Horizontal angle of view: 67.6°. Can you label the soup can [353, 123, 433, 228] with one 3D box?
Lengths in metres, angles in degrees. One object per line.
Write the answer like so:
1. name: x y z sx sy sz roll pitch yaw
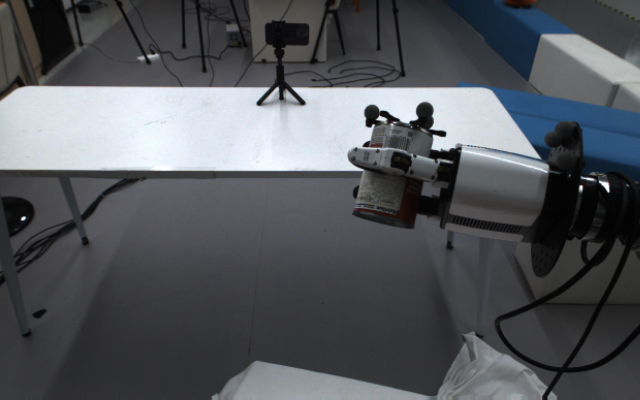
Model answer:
1. soup can: 0.081 -0.027 0.524 0.067 0.101 0.067 13 -6 1
